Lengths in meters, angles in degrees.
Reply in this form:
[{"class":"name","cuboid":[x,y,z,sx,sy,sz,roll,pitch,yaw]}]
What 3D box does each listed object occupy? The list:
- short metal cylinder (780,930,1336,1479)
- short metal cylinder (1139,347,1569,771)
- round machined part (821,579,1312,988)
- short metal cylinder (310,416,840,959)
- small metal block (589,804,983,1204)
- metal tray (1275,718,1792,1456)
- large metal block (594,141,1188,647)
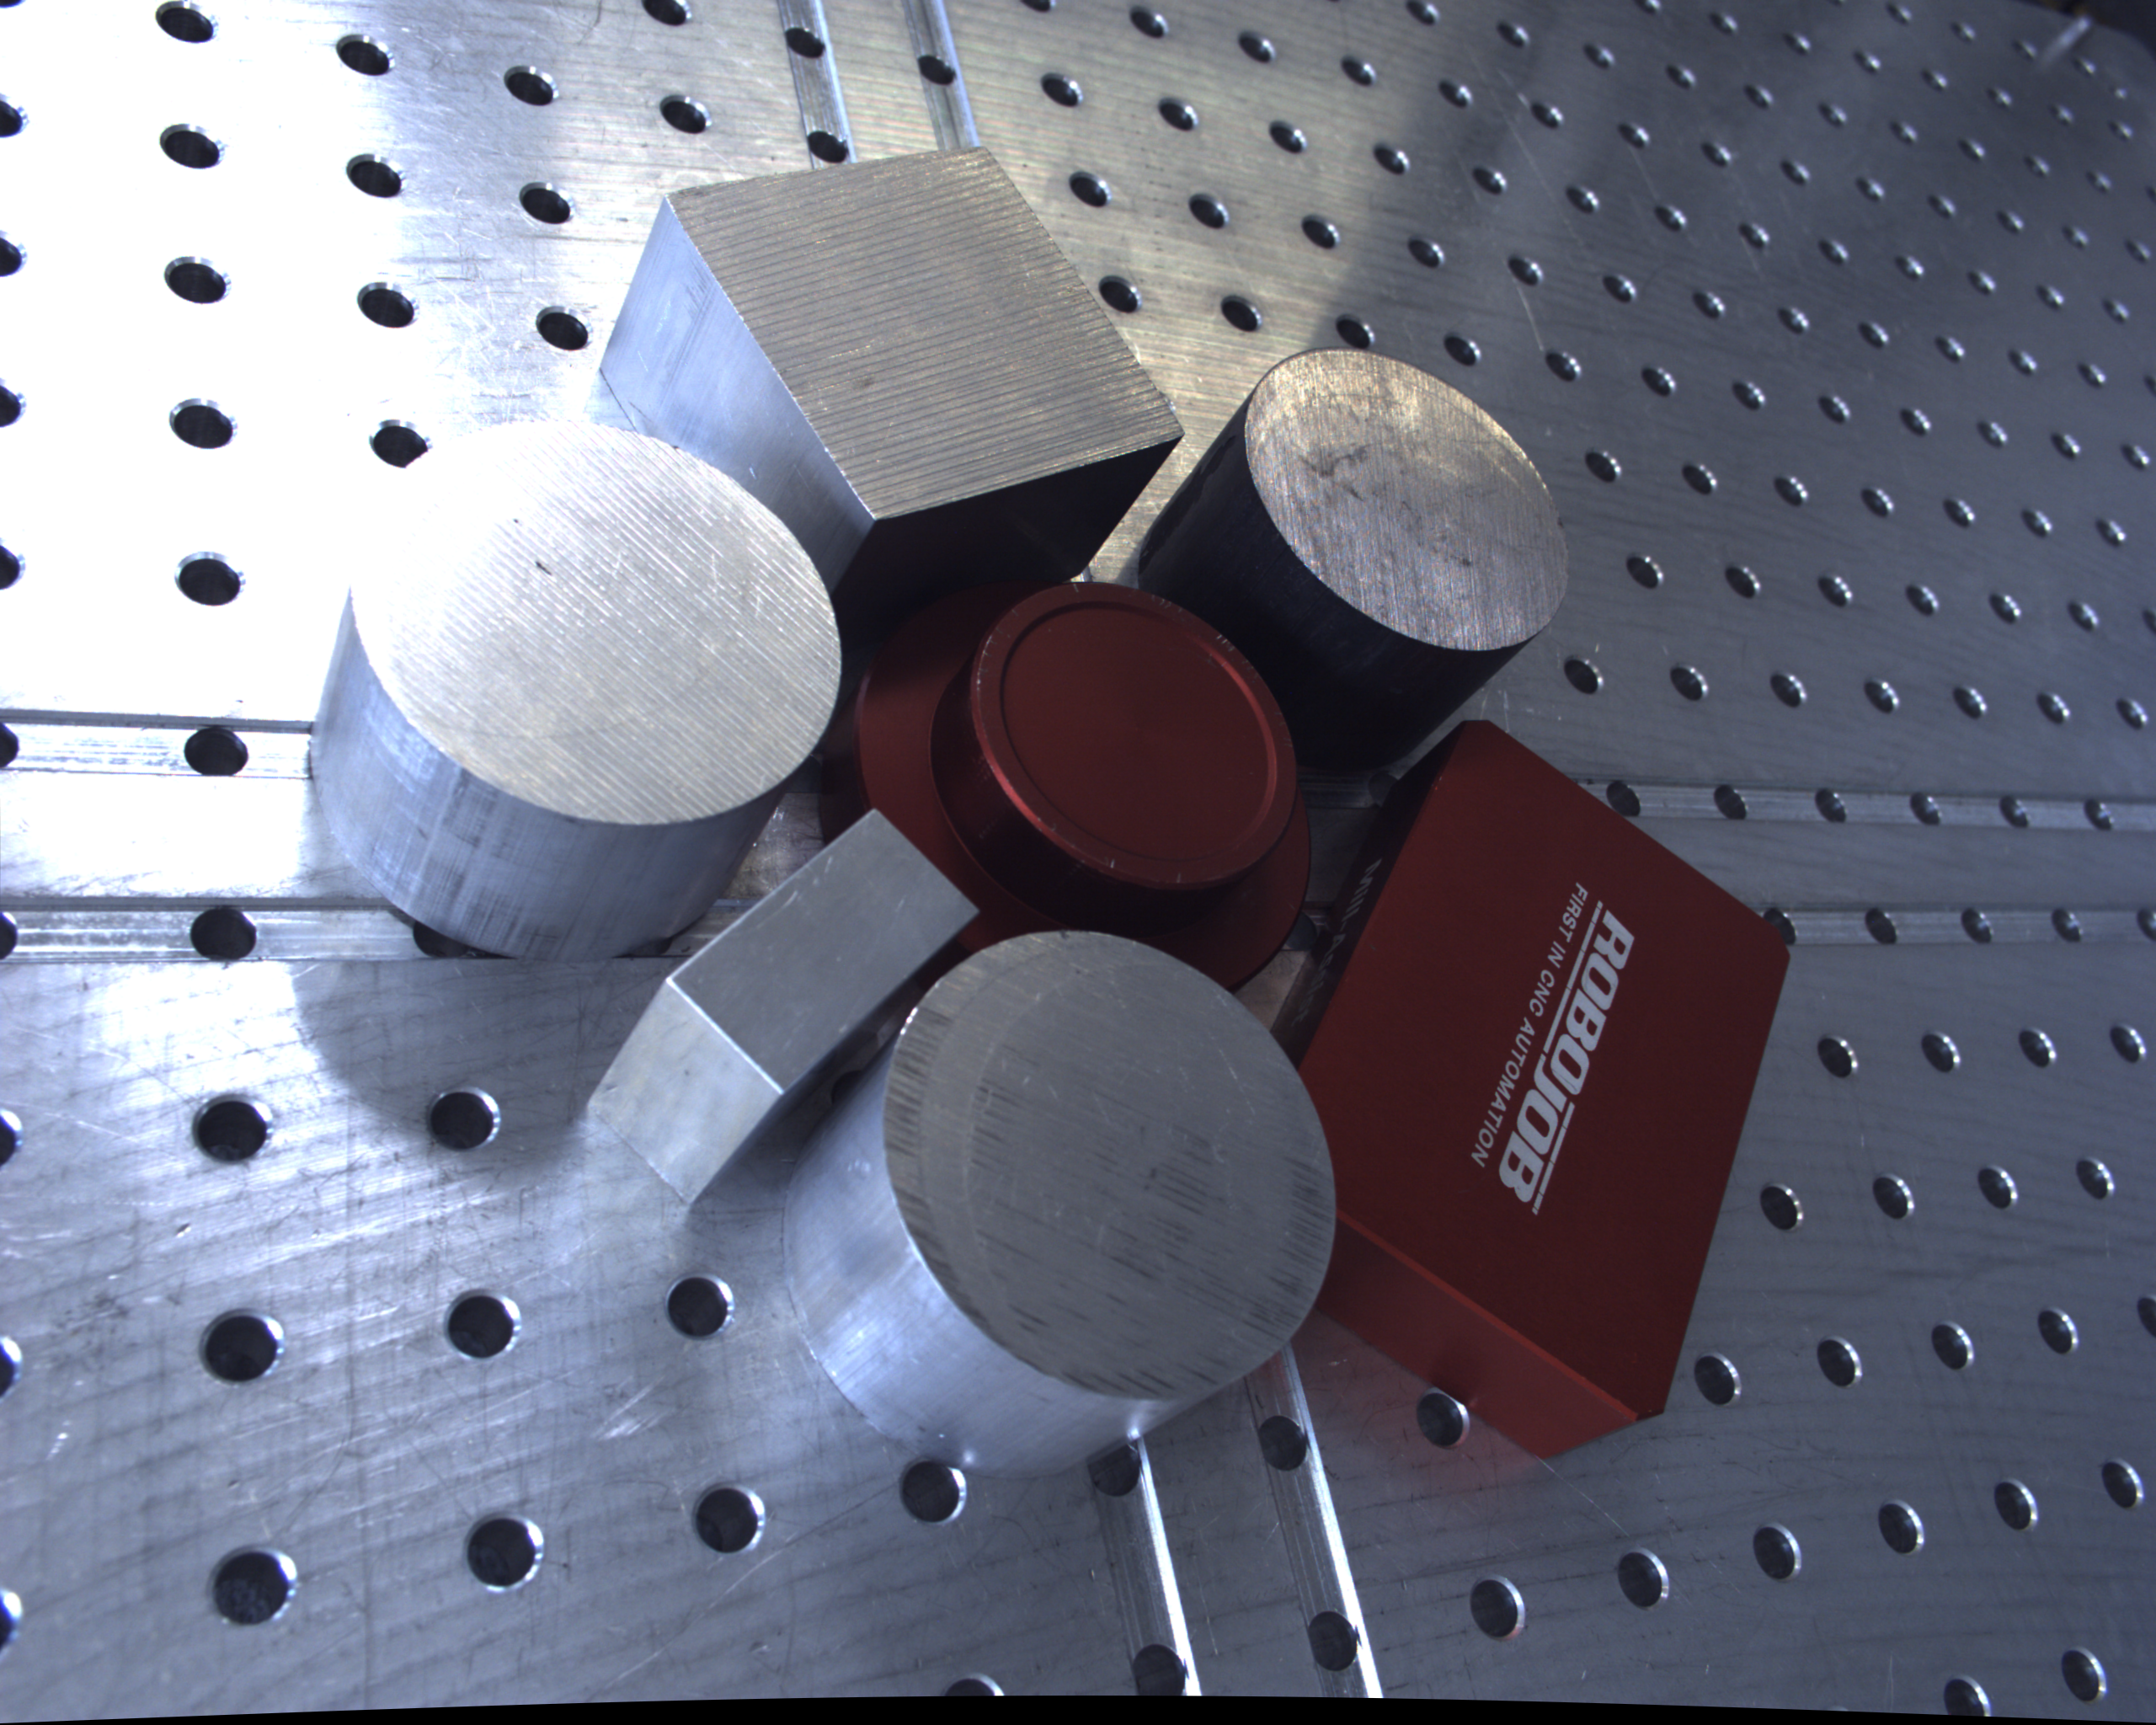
[{"class":"short metal cylinder","cuboid":[-0.004,0.058,0.353,0.081,0.050,0.080,14,56,-21]},{"class":"short metal cylinder","cuboid":[0.061,-0.067,0.465,0.081,0.050,0.080,14,56,-21]},{"class":"round machined part","cuboid":[0.003,-0.016,0.407,0.099,0.042,0.098,14,56,-21]},{"class":"short metal cylinder","cuboid":[-0.088,-0.030,0.362,0.081,0.050,0.080,14,56,-21]},{"class":"small metal block","cuboid":[-0.049,0.024,0.350,0.025,0.050,0.050,45,51,2]},{"class":"metal tray","cuboid":[0.090,0.041,0.426,0.090,0.030,0.130,35,51,-5]},{"class":"large metal block","cuboid":[-0.039,-0.096,0.430,0.081,0.050,0.080,-24,75,-36]}]
